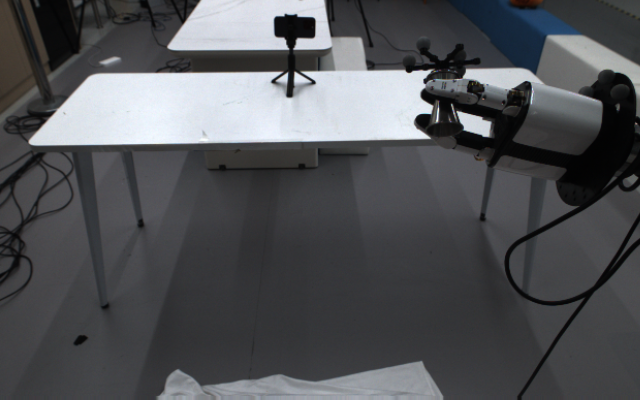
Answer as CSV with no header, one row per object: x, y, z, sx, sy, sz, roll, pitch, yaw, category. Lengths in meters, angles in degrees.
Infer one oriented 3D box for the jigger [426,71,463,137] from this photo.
0.146,-0.117,0.577,0.043,0.043,0.071,3,76,1,jigger
